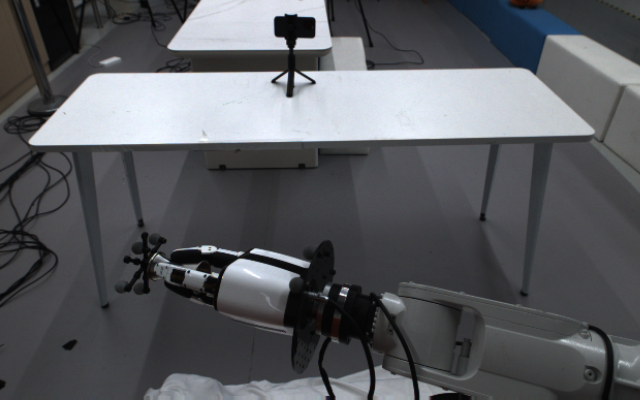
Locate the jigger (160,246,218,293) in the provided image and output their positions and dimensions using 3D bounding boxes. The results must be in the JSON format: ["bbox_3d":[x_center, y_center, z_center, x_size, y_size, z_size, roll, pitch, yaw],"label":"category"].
[{"bbox_3d":[-0.177,0.090,0.625,0.071,0.043,0.043,10,35,16],"label":"jigger"}]
